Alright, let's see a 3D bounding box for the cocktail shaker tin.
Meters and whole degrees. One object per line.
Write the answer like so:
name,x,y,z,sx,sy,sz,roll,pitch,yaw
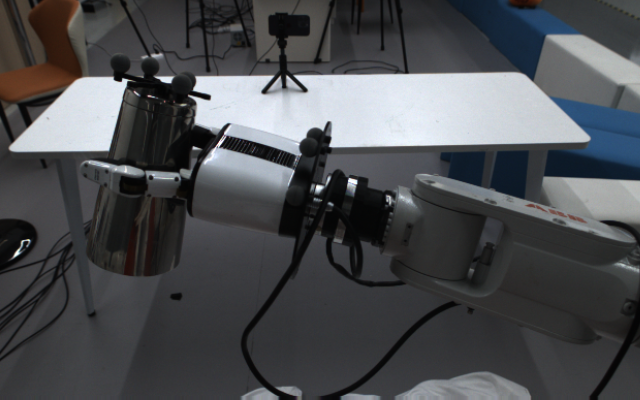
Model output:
cocktail shaker tin,-0.170,-0.020,0.480,0.093,0.170,0.093,15,17,-5
